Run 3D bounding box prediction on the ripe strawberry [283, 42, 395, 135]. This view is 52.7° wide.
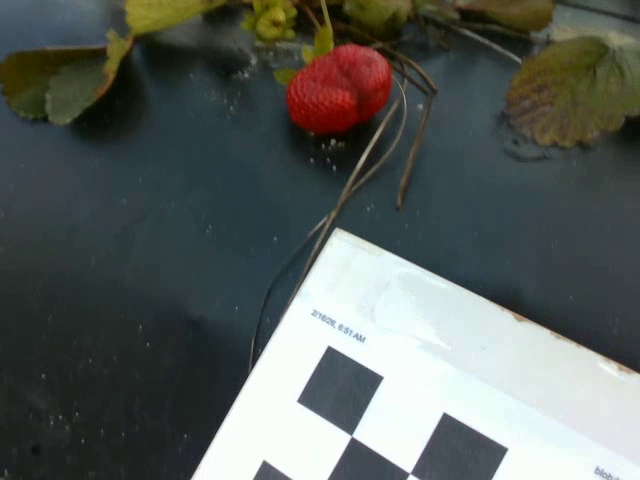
[{"bbox_3d":[0.002,-0.018,0.077,0.017,0.014,0.015,-39,22,2],"label":"ripe strawberry"}]
